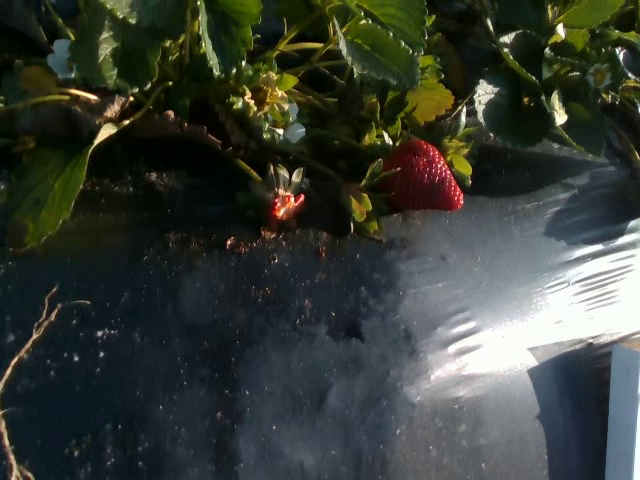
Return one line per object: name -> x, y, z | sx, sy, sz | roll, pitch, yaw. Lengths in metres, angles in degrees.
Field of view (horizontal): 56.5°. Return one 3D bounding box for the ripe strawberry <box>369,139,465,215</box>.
ripe strawberry -> 0.063, -0.032, 0.341 | 0.052, 0.041, 0.052 | -36, 50, -17
